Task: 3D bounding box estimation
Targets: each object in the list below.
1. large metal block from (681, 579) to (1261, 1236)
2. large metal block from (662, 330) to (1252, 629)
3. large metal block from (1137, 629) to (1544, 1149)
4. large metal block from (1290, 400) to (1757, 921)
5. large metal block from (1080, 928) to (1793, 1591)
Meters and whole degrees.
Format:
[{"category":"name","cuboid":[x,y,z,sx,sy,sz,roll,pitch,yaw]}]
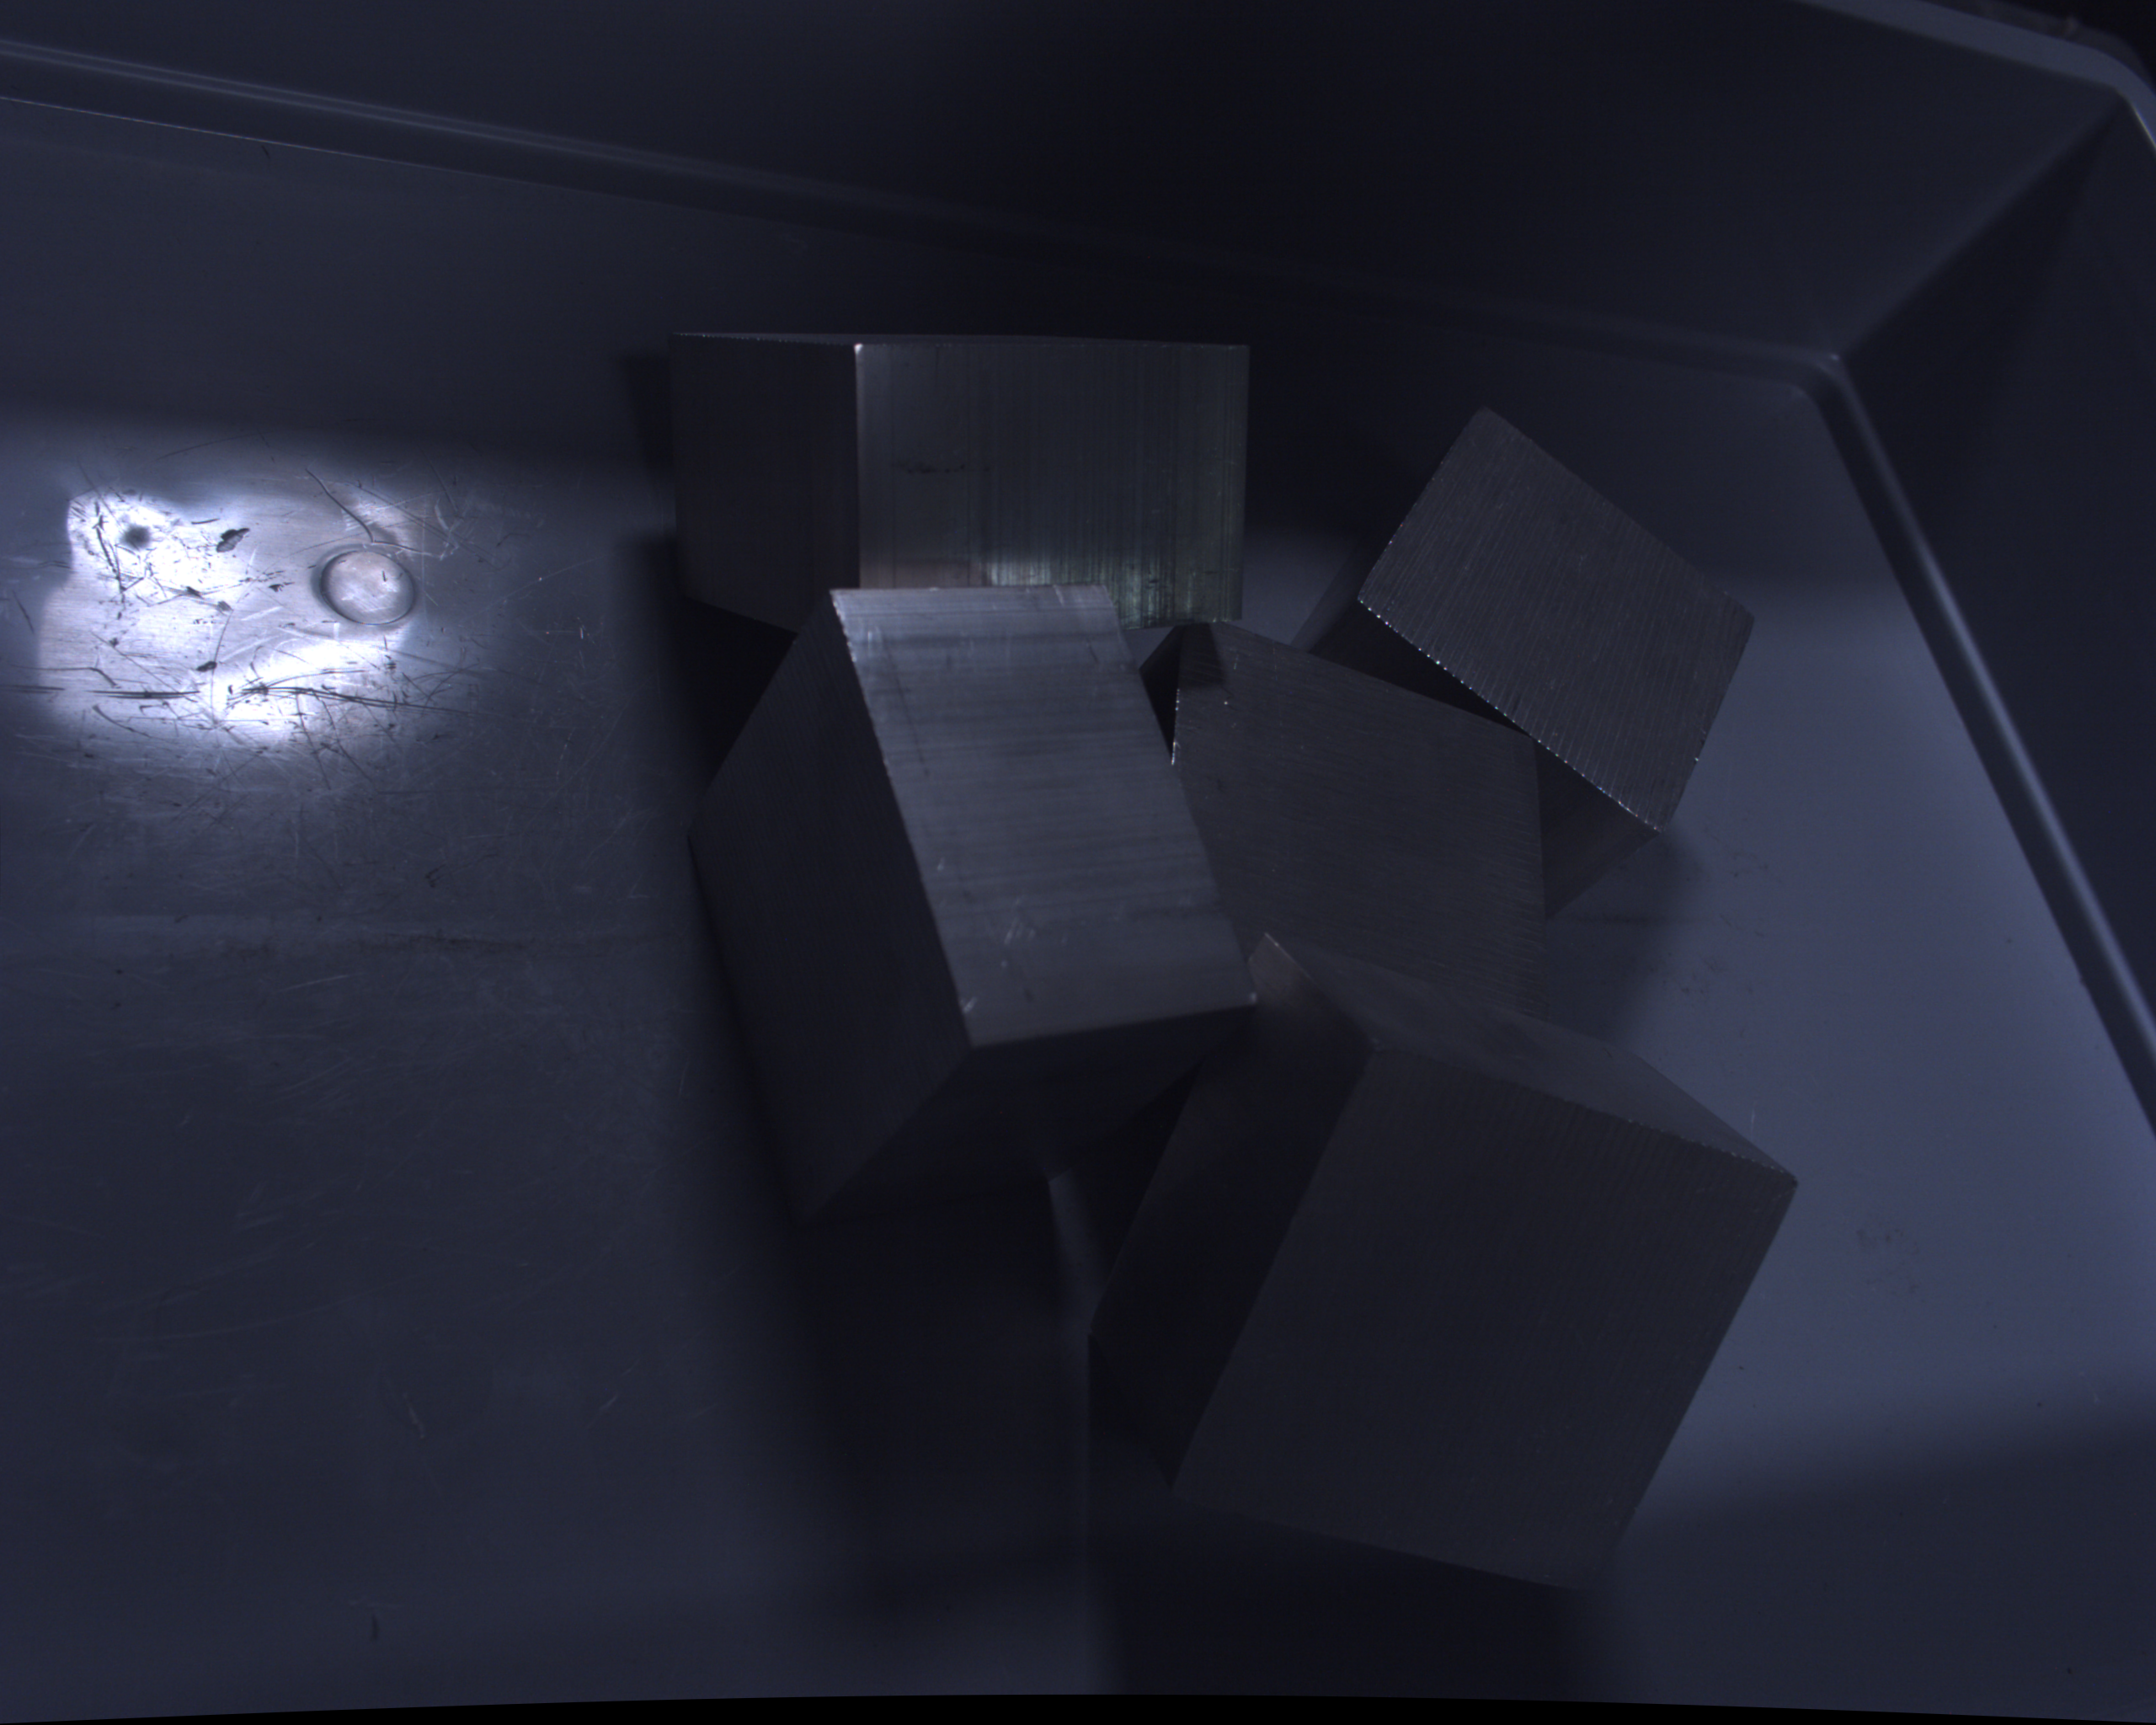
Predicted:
[{"category":"large metal block","cuboid":[-0.023,0.008,0.353,0.050,0.080,0.080,-6,65,-31]},{"category":"large metal block","cuboid":[-0.025,-0.073,0.394,0.081,0.080,0.050,-8,108,-31]},{"category":"large metal block","cuboid":[0.042,0.008,0.408,0.081,0.050,0.080,18,55,-19]},{"category":"large metal block","cuboid":[0.094,-0.043,0.467,0.080,0.050,0.080,38,51,-3]},{"category":"large metal block","cuboid":[0.058,0.067,0.352,0.081,0.080,0.050,19,12,-19]}]
